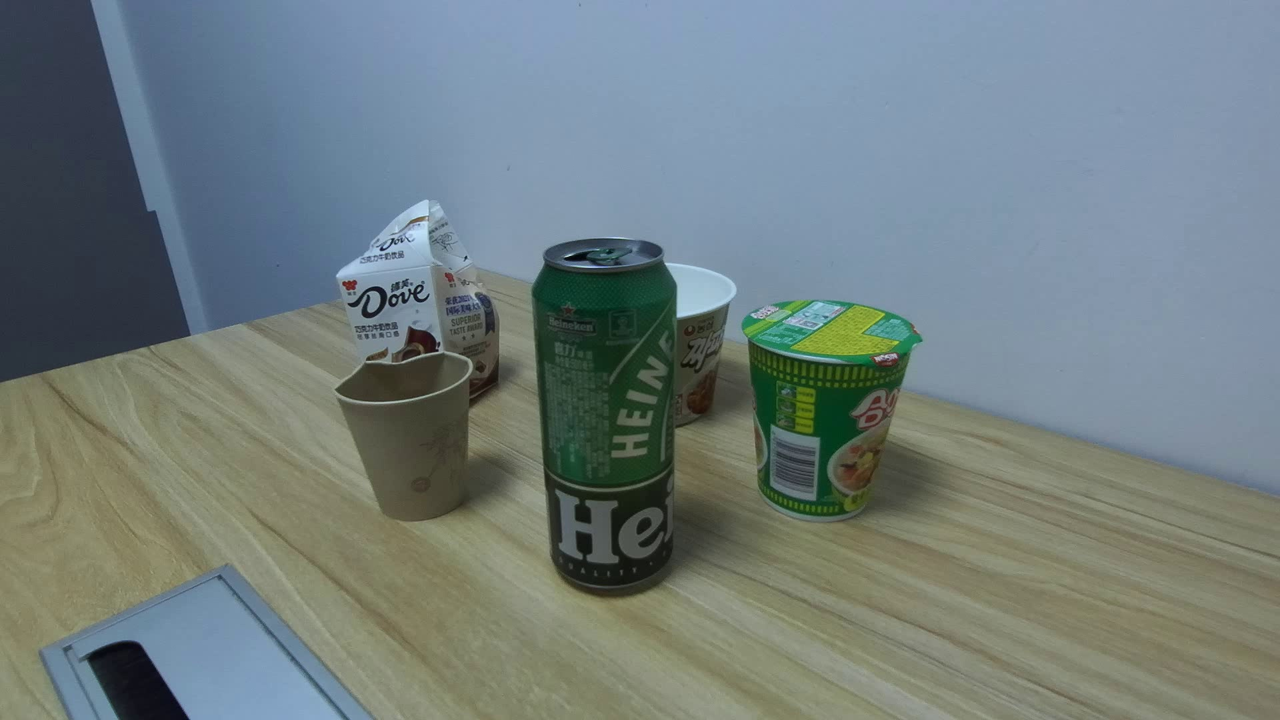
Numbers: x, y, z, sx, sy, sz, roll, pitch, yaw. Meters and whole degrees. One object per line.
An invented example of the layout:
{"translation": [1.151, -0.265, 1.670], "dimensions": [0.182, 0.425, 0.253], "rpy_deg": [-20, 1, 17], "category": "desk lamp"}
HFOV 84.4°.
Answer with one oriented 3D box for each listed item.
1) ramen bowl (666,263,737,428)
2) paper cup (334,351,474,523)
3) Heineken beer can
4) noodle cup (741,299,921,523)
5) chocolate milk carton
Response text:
{"translation": [0.002, -0.013, 0.539], "dimensions": [0.140, 0.095, 0.140], "rpy_deg": [1, 24, 0], "category": "ramen bowl"}
{"translation": [-0.134, 0.046, 0.424], "dimensions": [0.068, 0.081, 0.073], "rpy_deg": [4, 23, 11], "category": "paper cup"}
{"translation": [-0.015, 0.031, 0.352], "dimensions": [0.067, 0.169, 0.067], "rpy_deg": [-1, 21, 1], "category": "Heineken beer can"}
{"translation": [0.106, 0.031, 0.417], "dimensions": [0.097, 0.110, 0.097], "rpy_deg": [0, 23, 0], "category": "noodle cup"}
{"translation": [-0.170, -0.039, 0.550], "dimensions": [0.089, 0.155, 0.077], "rpy_deg": [-11, 13, 17], "category": "chocolate milk carton"}
